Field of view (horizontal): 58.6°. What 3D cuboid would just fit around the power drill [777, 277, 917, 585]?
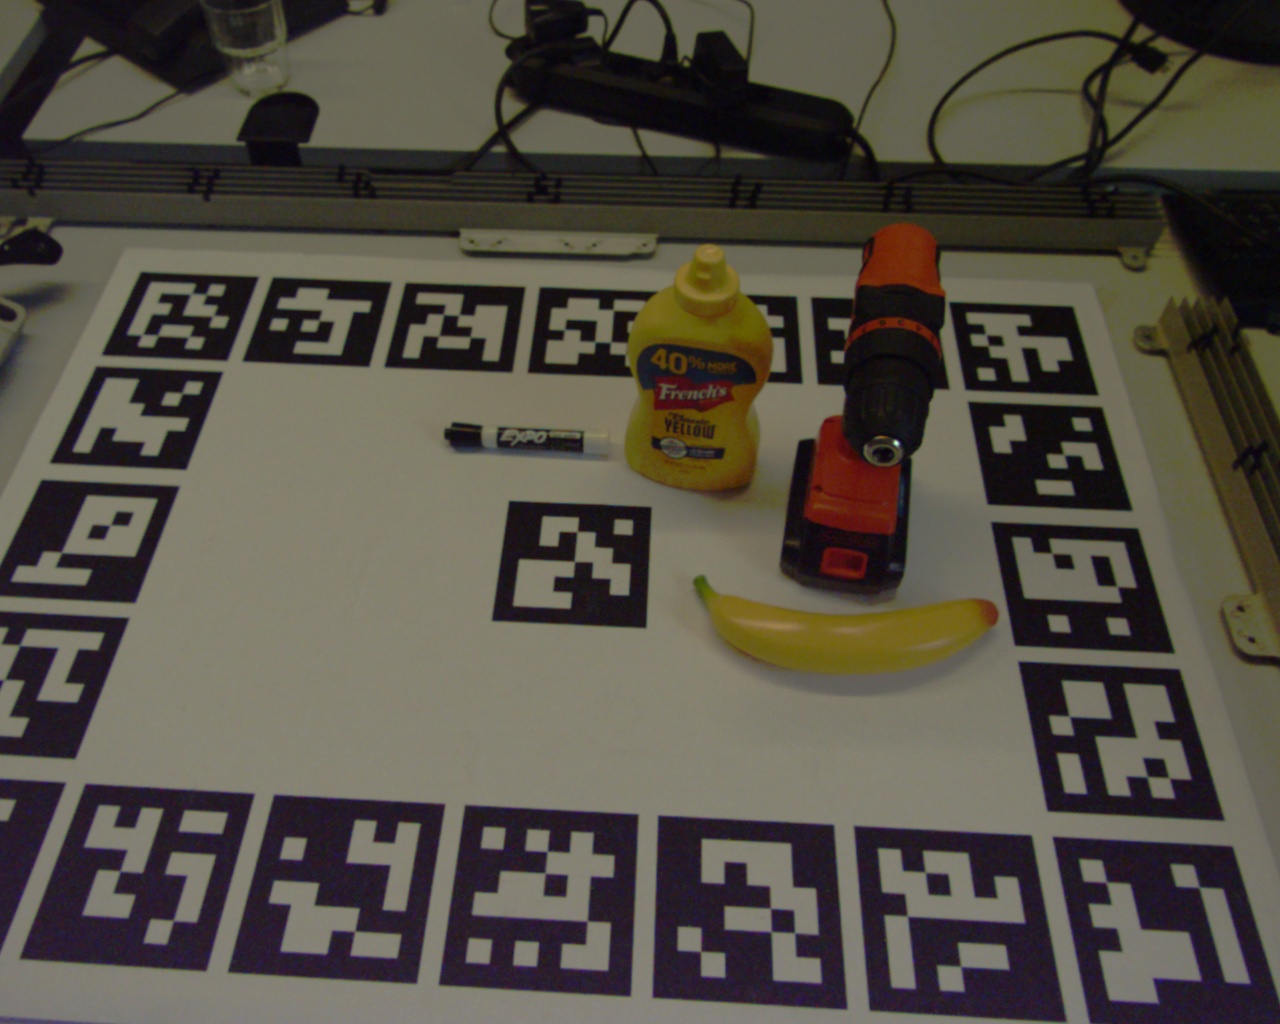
[{"bbox_3d":[0.135,-0.036,0.754,0.057,0.186,0.184,14,52,7],"label":"power drill"}]

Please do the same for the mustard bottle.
[{"bbox_3d":[0.031,-0.082,0.809,0.096,0.191,0.058,12,54,6],"label":"mustard bottle"}]

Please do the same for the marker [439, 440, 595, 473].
[{"bbox_3d":[-0.096,-0.044,0.888,0.121,0.019,0.020,4,55,3],"label":"marker"}]

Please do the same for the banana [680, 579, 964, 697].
[{"bbox_3d":[0.120,0.091,0.778,0.198,0.038,0.074,8,55,8],"label":"banana"}]
